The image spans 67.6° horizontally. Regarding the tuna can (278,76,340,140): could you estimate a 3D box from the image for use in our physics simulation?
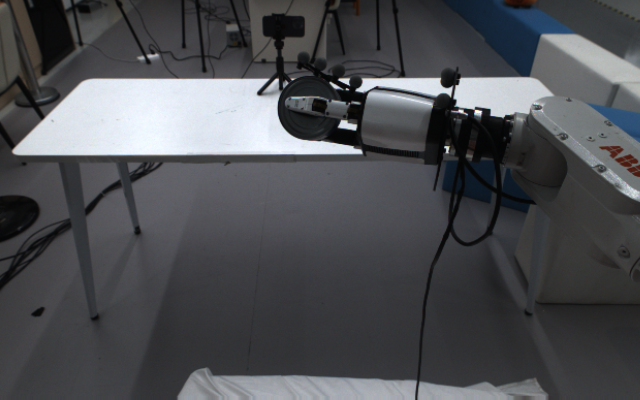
[{"bbox_3d":[-0.012,-0.124,0.663,0.085,0.085,0.034,10,5,11],"label":"tuna can"}]
